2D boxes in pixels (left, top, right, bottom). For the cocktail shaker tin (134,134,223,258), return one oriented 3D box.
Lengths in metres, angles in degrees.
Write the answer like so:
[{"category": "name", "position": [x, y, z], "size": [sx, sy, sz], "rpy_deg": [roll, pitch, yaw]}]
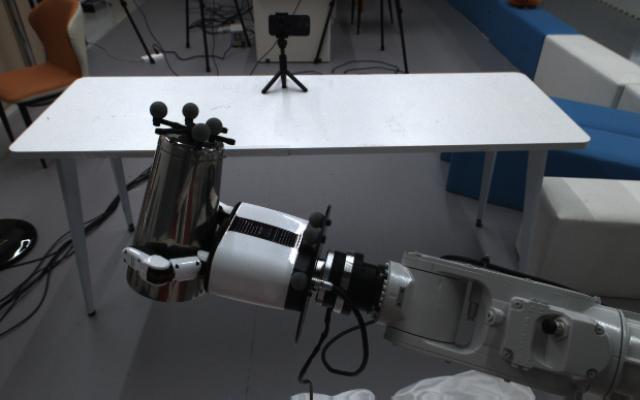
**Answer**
[{"category": "cocktail shaker tin", "position": [-0.151, 0.014, 0.526], "size": [0.093, 0.170, 0.093], "rpy_deg": [13, 20, -5]}]
